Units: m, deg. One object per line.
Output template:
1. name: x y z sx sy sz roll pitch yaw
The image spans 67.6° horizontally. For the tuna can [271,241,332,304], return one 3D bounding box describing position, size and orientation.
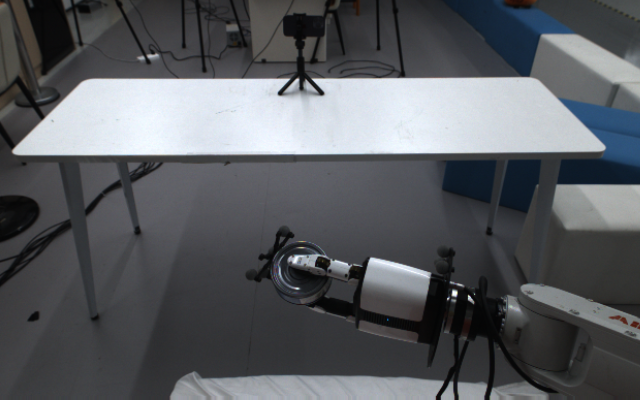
1. tuna can: -0.022 0.106 0.677 0.085 0.034 0.085 -1 61 1
